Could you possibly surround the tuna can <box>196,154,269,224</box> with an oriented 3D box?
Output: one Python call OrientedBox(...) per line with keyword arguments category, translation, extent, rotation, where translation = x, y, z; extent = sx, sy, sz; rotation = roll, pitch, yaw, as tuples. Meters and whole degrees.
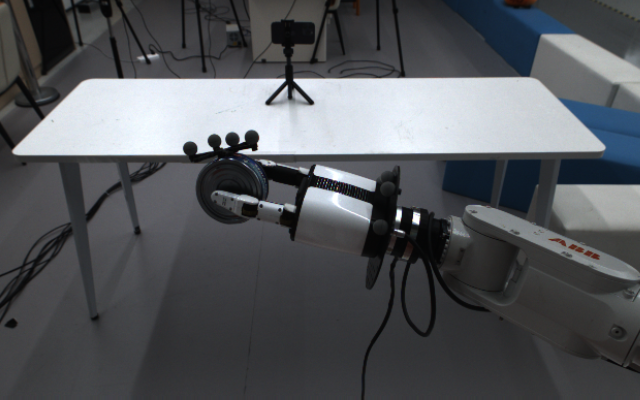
OrientedBox(category="tuna can", translation=(-0.105, -0.008, 0.599), extent=(0.085, 0.085, 0.034), rotation=(6, 18, 6))
